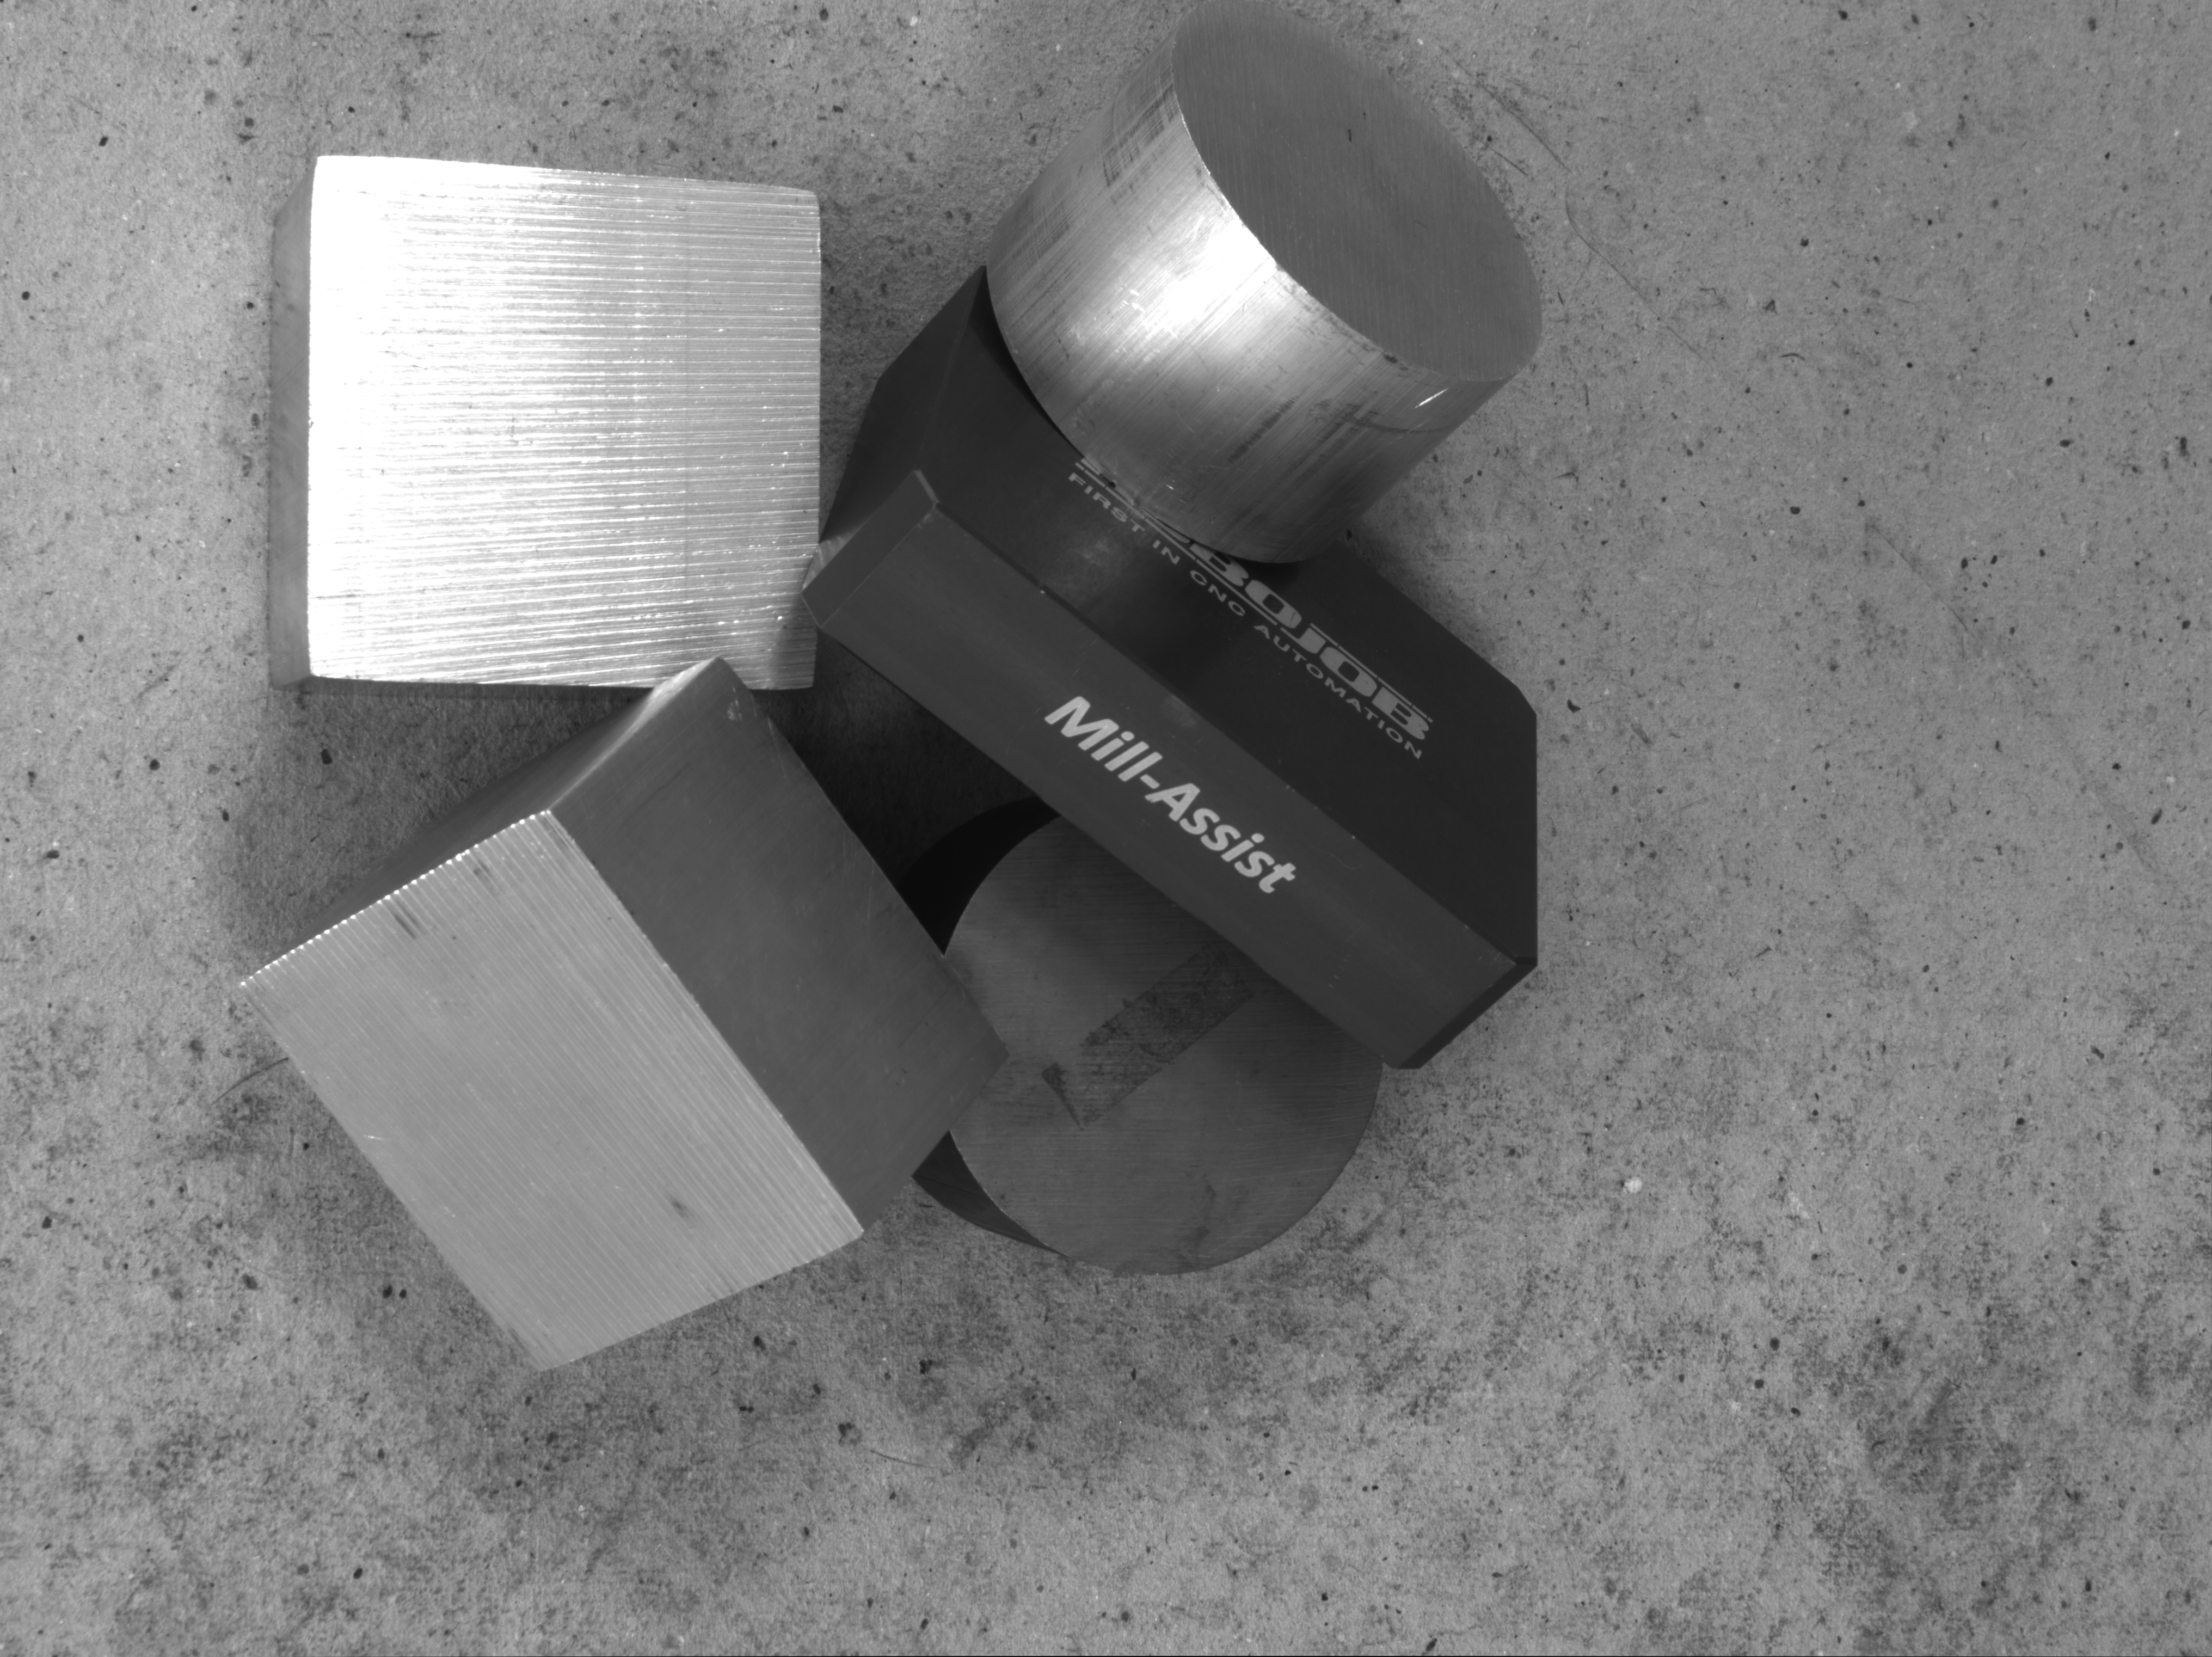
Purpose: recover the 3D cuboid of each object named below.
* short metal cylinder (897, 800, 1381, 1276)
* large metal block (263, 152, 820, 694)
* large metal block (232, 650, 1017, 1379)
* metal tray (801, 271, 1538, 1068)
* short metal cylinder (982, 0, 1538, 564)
[{"bbox_3d":[0.001,0.034,0.631,0.080,0.050,0.080,0,90,-20],"label":"short metal cylinder"},{"bbox_3d":[-0.092,-0.062,0.595,0.080,0.050,0.080,1,90,-20],"label":"large metal block"},{"bbox_3d":[-0.076,0.031,0.580,0.080,0.080,0.050,55,38,-12],"label":"large metal block"},{"bbox_3d":[0.015,-0.028,0.616,0.130,0.090,0.030,38,118,-16],"label":"metal tray"},{"bbox_3d":[0.026,-0.092,0.619,0.080,0.050,0.080,28,41,-27],"label":"short metal cylinder"}]
